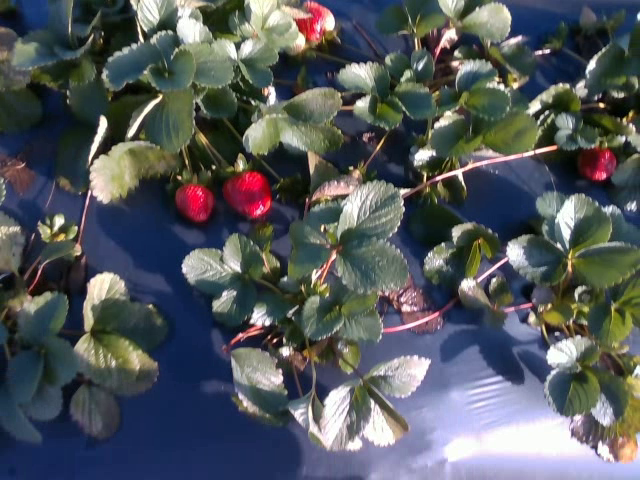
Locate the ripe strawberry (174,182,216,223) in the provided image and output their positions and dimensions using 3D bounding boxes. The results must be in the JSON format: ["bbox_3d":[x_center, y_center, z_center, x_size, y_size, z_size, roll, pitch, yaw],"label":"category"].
[{"bbox_3d":[-0.122,-0.033,0.671,0.043,0.052,0.036,-40,-32,8],"label":"ripe strawberry"}]

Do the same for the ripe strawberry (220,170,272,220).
[{"bbox_3d":[-0.068,-0.042,0.682,0.052,0.058,0.046,-31,-33,5],"label":"ripe strawberry"}]
